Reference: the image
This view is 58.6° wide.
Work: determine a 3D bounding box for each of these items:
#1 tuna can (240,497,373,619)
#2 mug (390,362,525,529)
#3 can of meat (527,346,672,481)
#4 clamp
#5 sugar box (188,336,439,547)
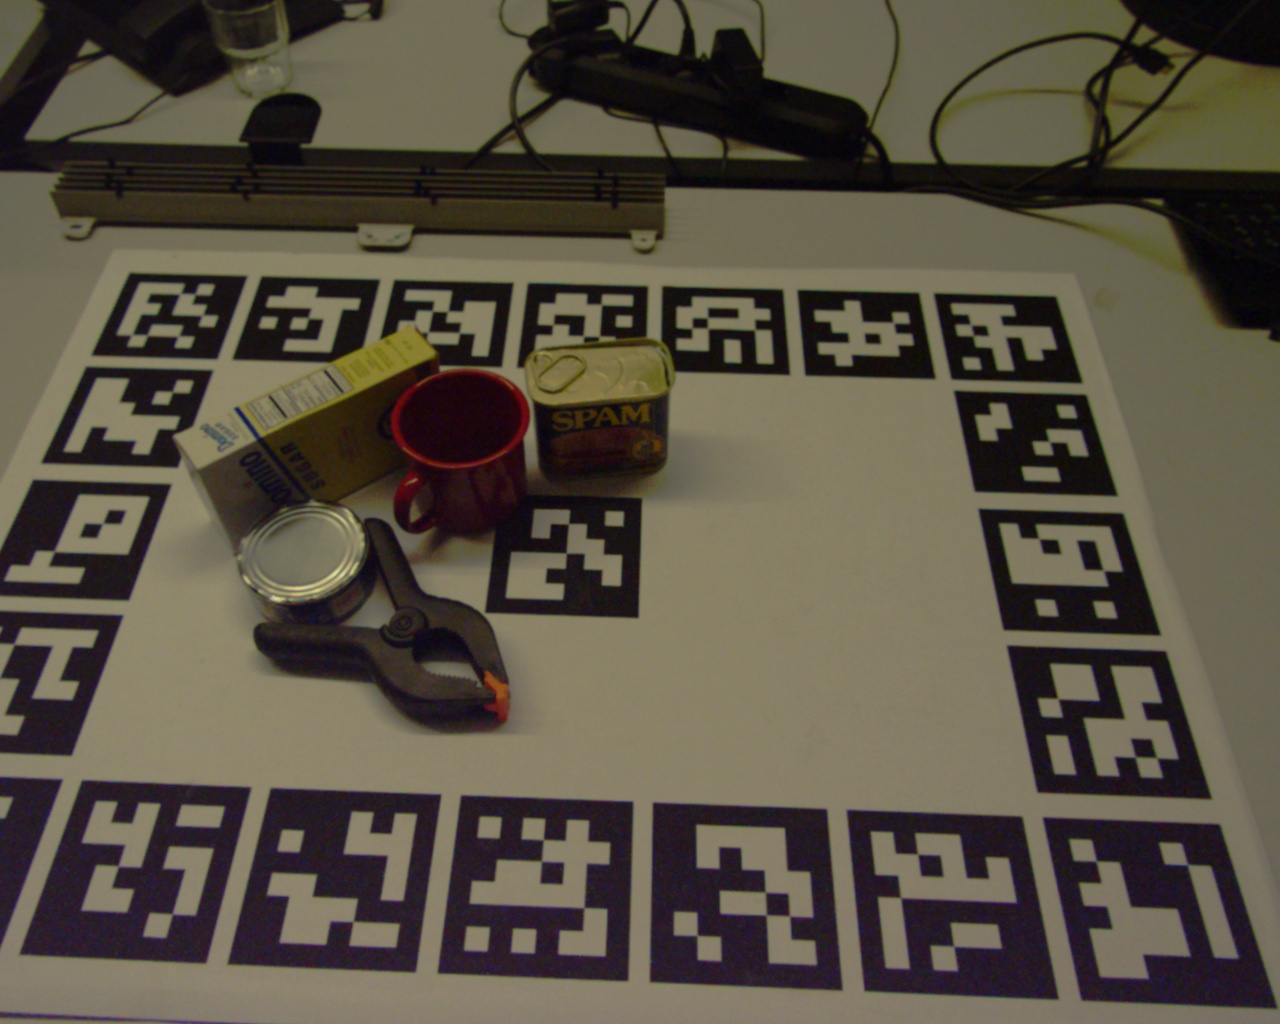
[{"bbox_3d":[-0.228,0.034,0.786,0.086,0.033,0.086,0,55,0],"label":"tuna can"},{"bbox_3d":[-0.131,-0.037,0.808,0.094,0.081,0.117,22,58,14],"label":"mug"},{"bbox_3d":[-0.031,-0.071,0.843,0.101,0.083,0.058,-5,52,-6],"label":"can of meat"},{"bbox_3d":[-0.152,0.083,0.756,0.166,0.036,0.121,33,55,17],"label":"clamp"},{"bbox_3d":[-0.224,-0.050,0.821,0.175,0.092,0.046,-30,58,-23],"label":"sugar box"}]
